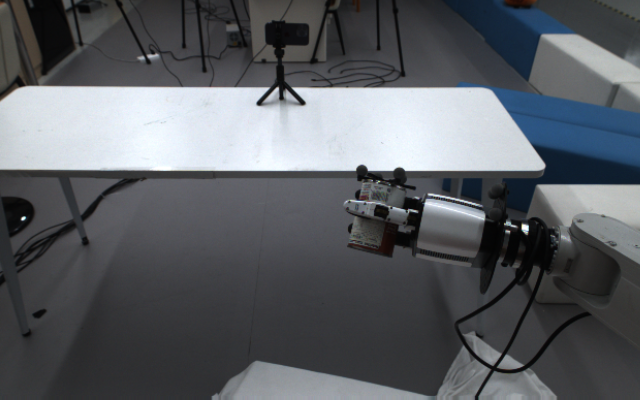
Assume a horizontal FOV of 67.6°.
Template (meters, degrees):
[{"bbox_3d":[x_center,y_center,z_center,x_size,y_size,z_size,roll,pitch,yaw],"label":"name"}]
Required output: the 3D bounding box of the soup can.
[{"bbox_3d":[0.086,0.028,0.710,0.067,0.101,0.067,14,-6,1],"label":"soup can"}]
